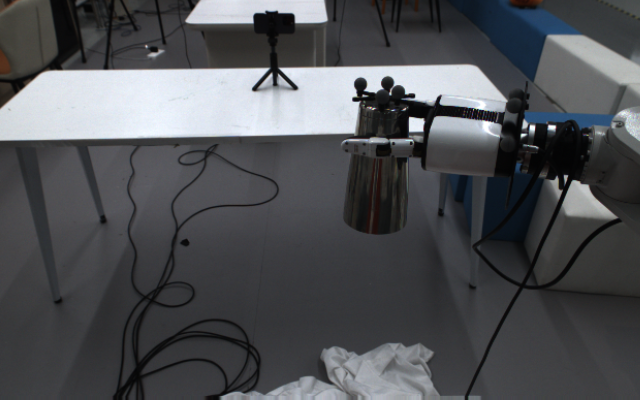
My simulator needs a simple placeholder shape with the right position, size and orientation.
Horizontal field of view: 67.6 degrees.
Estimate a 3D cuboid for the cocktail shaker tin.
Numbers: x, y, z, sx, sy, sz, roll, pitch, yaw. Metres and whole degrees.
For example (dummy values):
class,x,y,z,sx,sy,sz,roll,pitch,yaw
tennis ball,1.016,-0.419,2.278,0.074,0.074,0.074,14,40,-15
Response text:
class,x,y,z,sx,sy,sz,roll,pitch,yaw
cocktail shaker tin,0.084,-0.052,0.670,0.093,0.170,0.093,1,27,-1
